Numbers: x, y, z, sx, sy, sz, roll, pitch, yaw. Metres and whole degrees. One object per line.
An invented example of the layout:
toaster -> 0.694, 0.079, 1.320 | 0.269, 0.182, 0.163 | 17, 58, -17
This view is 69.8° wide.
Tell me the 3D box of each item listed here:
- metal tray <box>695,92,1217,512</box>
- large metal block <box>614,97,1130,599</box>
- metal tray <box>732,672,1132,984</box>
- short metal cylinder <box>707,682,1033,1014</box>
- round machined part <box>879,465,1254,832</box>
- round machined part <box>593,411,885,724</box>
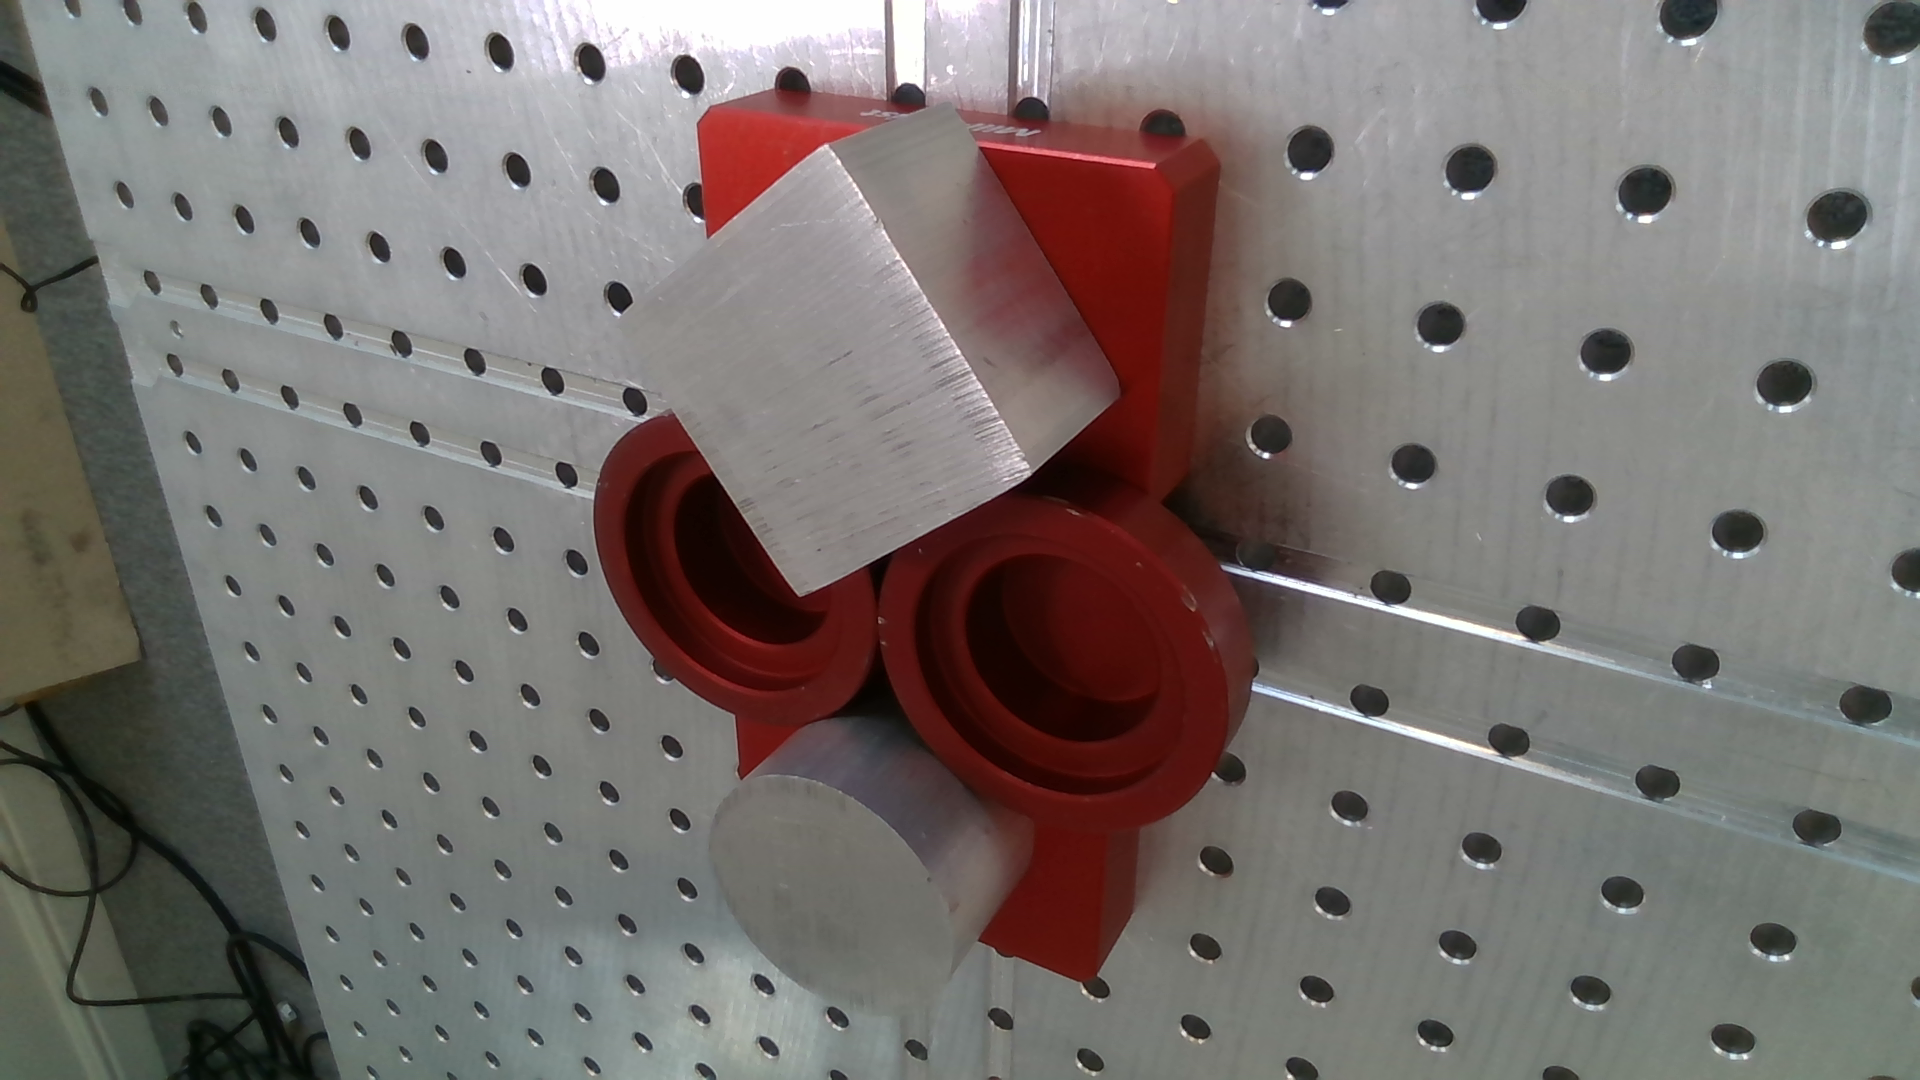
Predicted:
metal tray -> -0.004, -0.062, 0.356 | 0.130, 0.030, 0.090 | 15, 123, 25
large metal block -> -0.021, -0.044, 0.326 | 0.080, 0.050, 0.080 | -26, 99, 38
metal tray -> -0.010, 0.076, 0.434 | 0.130, 0.030, 0.090 | 15, 122, 24
short metal cylinder -> -0.026, 0.089, 0.401 | 0.080, 0.050, 0.080 | 15, 122, 25
round machined part -> 0.031, 0.025, 0.364 | 0.098, 0.042, 0.098 | 15, 122, 25
round machined part -> -0.056, 0.001, 0.405 | 0.098, 0.042, 0.098 | 15, 122, 25
